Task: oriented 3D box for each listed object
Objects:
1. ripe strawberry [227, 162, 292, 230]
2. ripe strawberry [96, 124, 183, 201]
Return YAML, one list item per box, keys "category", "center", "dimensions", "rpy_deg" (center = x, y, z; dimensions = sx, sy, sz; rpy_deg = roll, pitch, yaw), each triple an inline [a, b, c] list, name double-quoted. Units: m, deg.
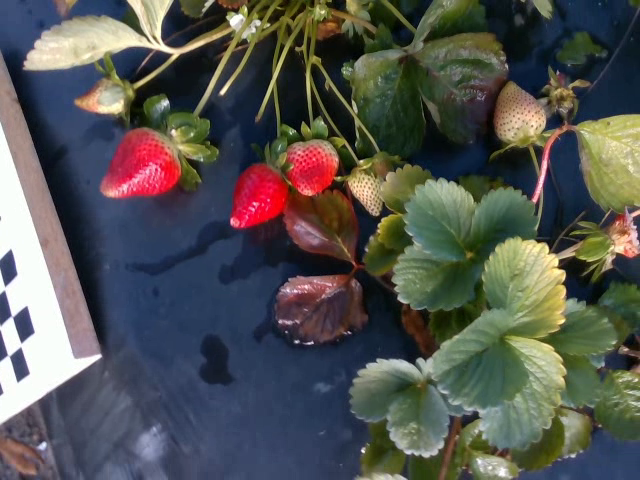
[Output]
- category: "ripe strawberry"
  center: [-0.046, -0.026, 0.405]
  dimensions: [0.044, 0.042, 0.055]
  rpy_deg: [-1, 41, 40]
- category: "ripe strawberry"
  center: [-0.127, -0.051, 0.418]
  dimensions: [0.050, 0.050, 0.065]
  rpy_deg: [28, 55, 36]
